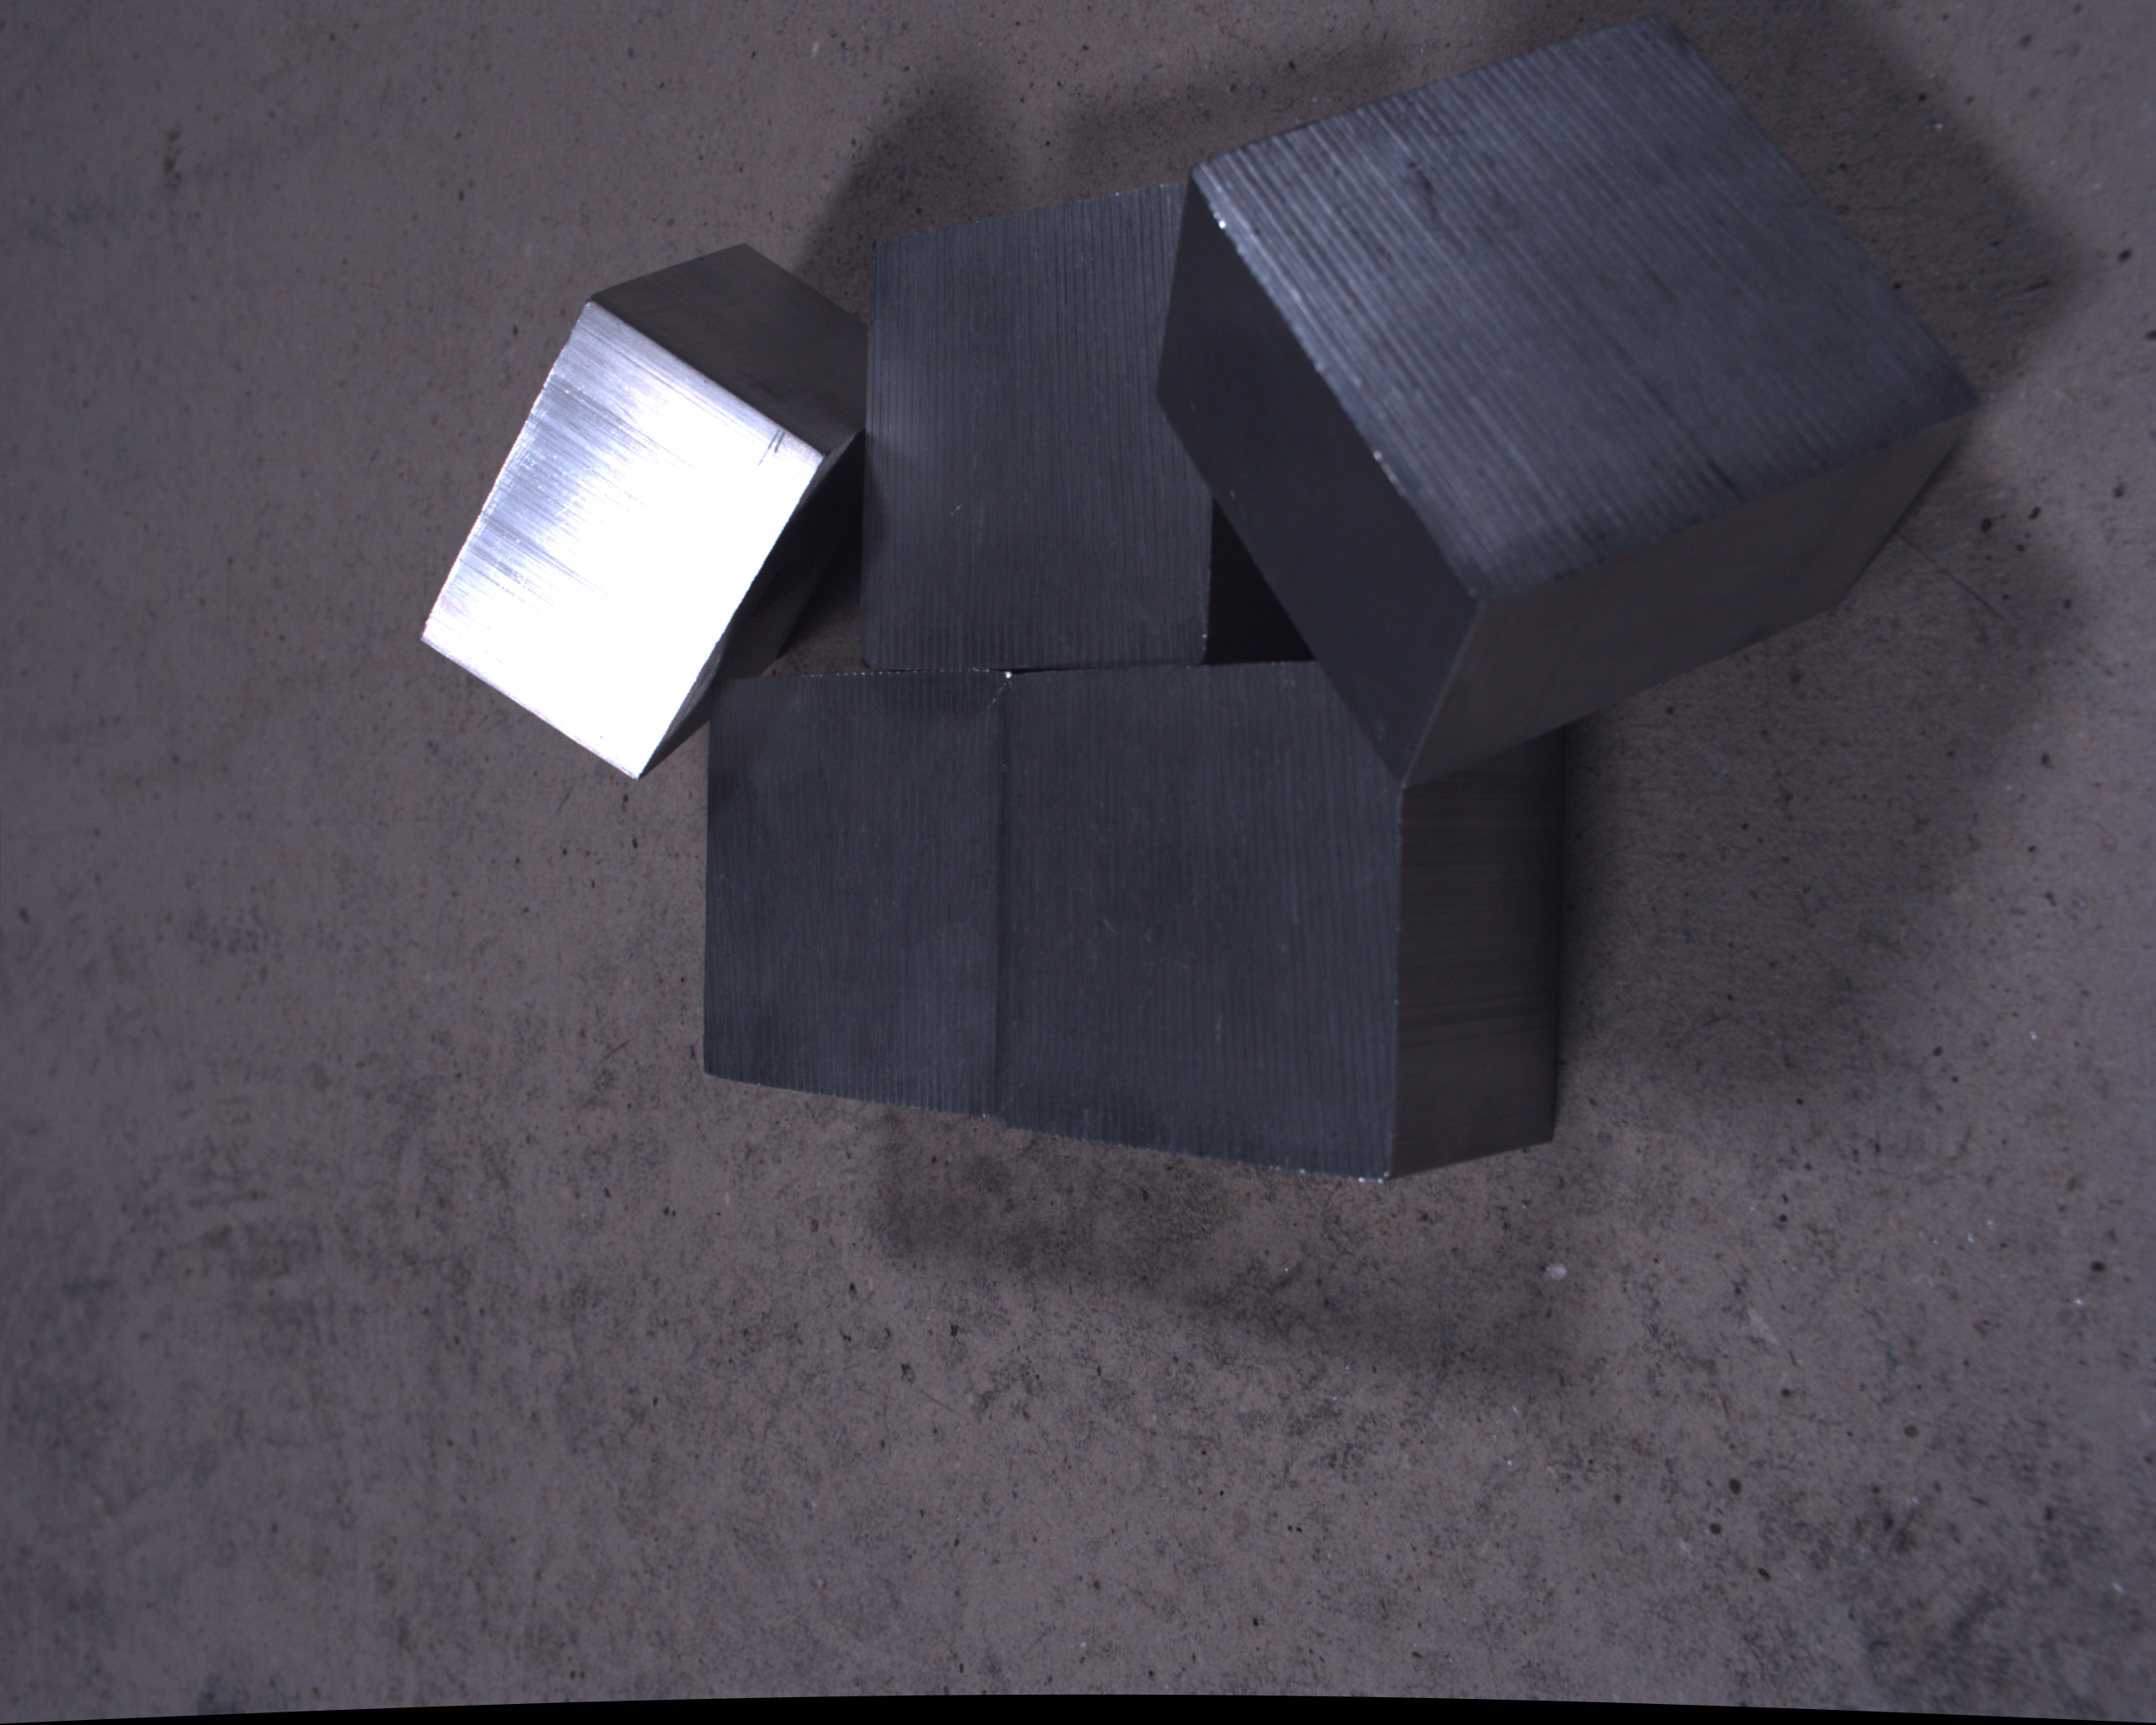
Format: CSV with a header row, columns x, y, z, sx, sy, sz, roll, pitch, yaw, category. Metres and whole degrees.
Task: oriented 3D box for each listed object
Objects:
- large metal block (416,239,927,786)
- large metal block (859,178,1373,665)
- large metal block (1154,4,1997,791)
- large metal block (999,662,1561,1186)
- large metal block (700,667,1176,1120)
x,y,z,sx,sy,sz,roll,pitch,yaw,category
-0.078,-0.073,0.423,0.050,0.080,0.080,34,116,-3,large metal block
0.008,-0.075,0.382,0.080,0.050,0.079,4,92,39,large metal block
0.067,-0.069,0.306,0.080,0.081,0.050,62,164,21,large metal block
0.034,0.008,0.358,0.080,0.050,0.079,2,91,39,large metal block
-0.028,0.004,0.410,0.080,0.050,0.079,2,91,39,large metal block
